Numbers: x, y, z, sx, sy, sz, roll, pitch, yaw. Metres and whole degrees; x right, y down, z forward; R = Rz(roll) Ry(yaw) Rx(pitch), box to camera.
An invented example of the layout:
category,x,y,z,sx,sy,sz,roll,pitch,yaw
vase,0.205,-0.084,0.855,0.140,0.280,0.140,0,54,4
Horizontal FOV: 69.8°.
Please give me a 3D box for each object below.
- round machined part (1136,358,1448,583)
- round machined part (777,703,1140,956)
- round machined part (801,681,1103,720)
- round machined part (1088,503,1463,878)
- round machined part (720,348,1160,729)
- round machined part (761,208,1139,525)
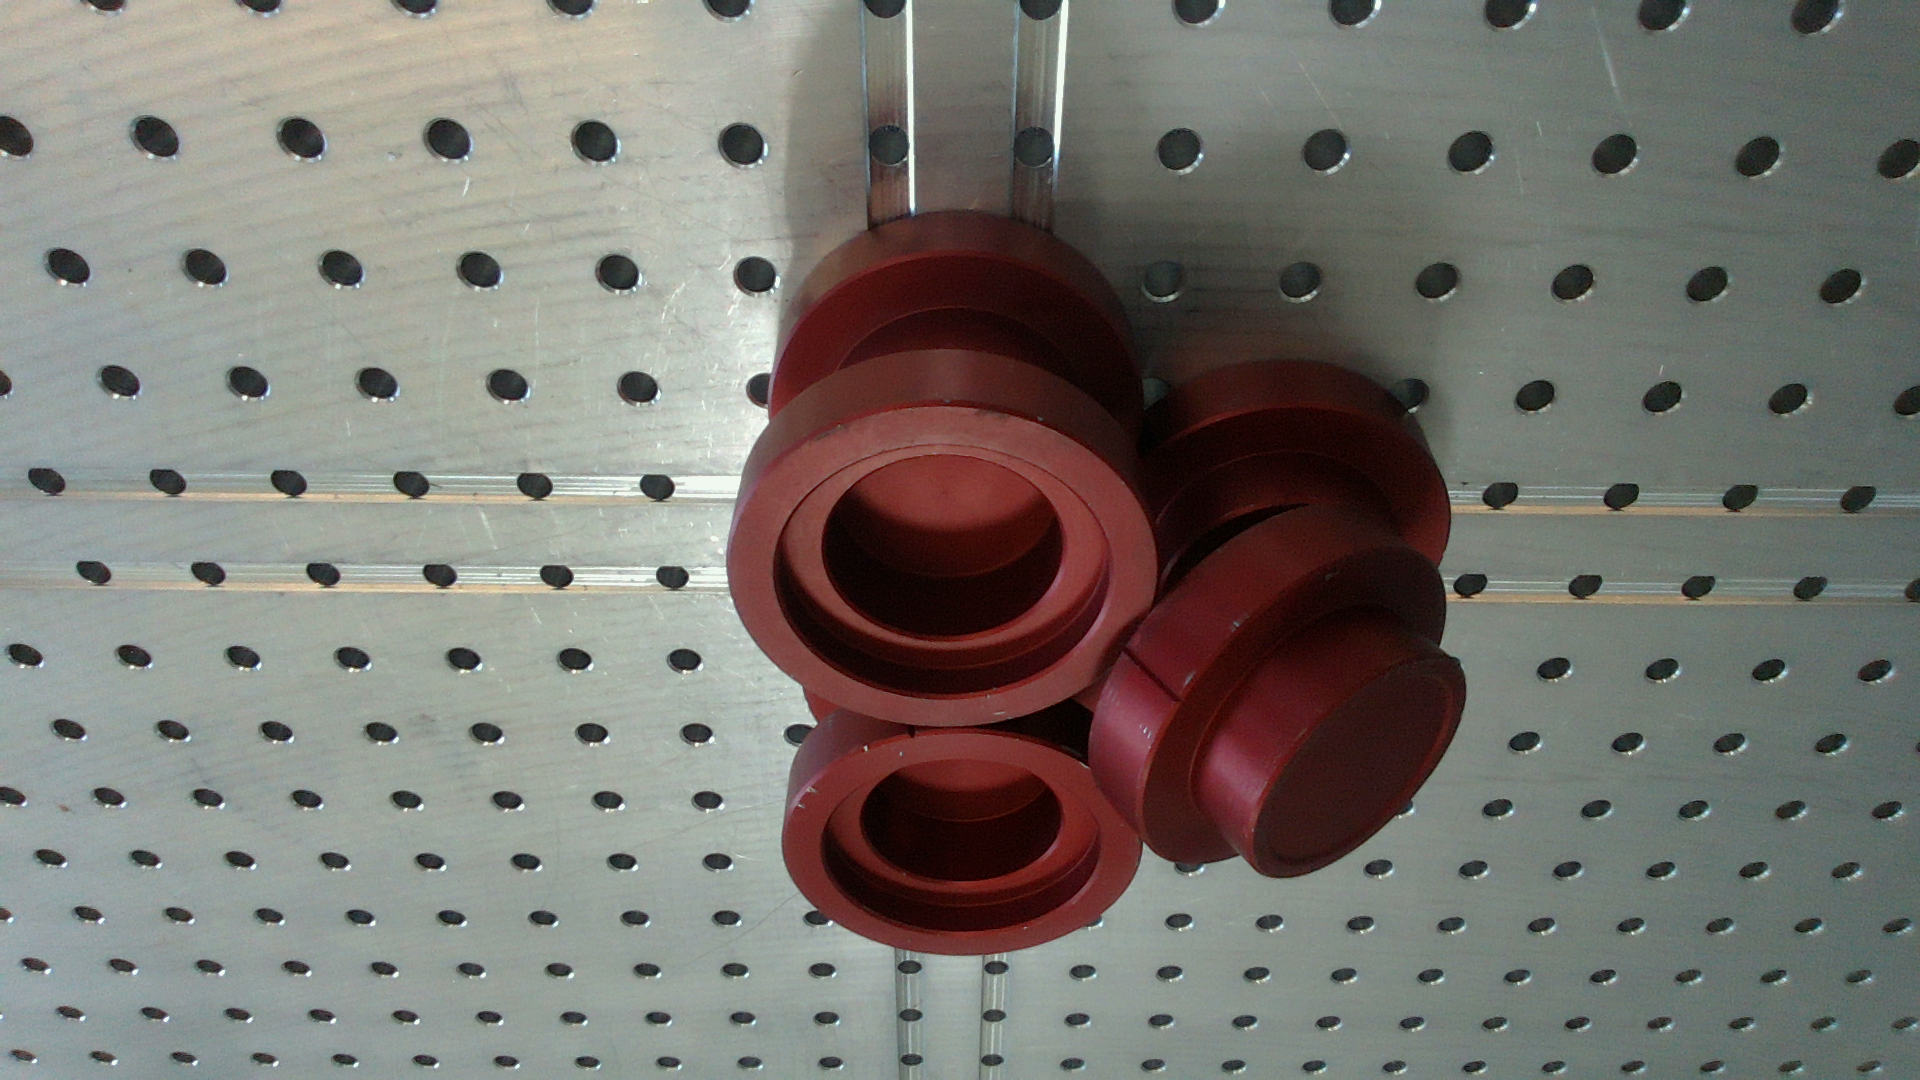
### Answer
category,x,y,z,sx,sy,sz,roll,pitch,yaw
round machined part,0.087,0.002,0.385,0.098,0.042,0.098,0,130,0
round machined part,0.000,0.072,0.387,0.098,0.042,0.098,0,130,0
round machined part,-0.001,0.044,0.420,0.098,0.042,0.098,0,130,0
round machined part,0.083,0.043,0.336,0.098,0.042,0.098,-22,134,-24
round machined part,-0.004,-0.004,0.323,0.098,0.042,0.098,0,130,0
round machined part,-0.003,-0.032,0.357,0.098,0.042,0.098,0,130,0
